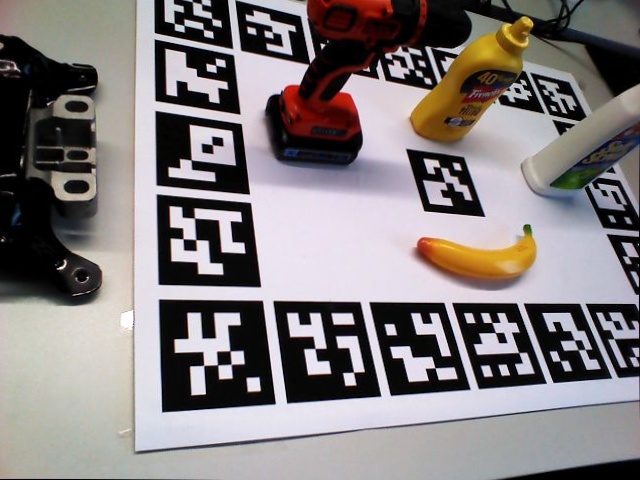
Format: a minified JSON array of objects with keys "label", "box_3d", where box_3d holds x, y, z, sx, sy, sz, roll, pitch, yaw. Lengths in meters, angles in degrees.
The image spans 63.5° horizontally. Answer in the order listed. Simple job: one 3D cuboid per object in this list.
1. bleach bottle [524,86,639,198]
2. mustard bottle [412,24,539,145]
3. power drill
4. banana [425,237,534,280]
[{"label":"bleach bottle","box_3d":[0.408,-0.153,0.708,0.102,0.252,0.067,11,58,-21]},{"label":"mustard bottle","box_3d":[0.211,-0.204,0.683,0.096,0.193,0.058,-5,65,-30]},{"label":"power drill","box_3d":[0.060,-0.185,0.560,0.184,0.188,0.057,-4,64,-24]},{"label":"banana","box_3d":[0.217,0.015,0.641,0.197,0.039,0.074,-4,66,-24]}]
